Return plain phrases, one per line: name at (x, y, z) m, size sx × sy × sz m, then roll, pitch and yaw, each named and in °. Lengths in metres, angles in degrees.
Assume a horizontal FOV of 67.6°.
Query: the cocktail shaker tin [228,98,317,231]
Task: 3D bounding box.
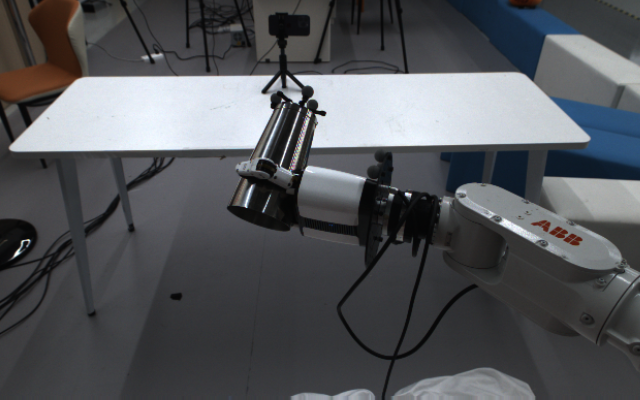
cocktail shaker tin at (-0.063, -0.051, 0.692) m, size 0.093 × 0.093 × 0.170 m, roll 14°, pitch 72°, yaw 16°
